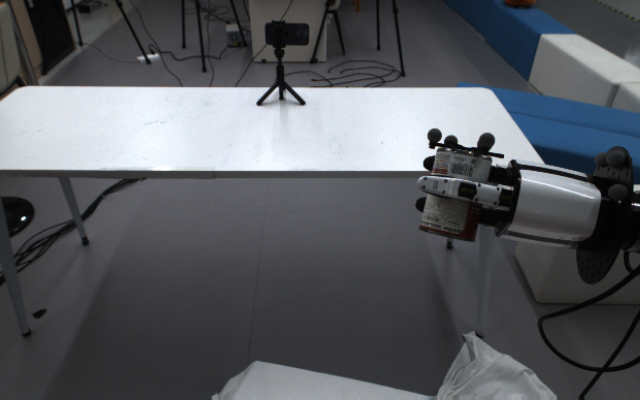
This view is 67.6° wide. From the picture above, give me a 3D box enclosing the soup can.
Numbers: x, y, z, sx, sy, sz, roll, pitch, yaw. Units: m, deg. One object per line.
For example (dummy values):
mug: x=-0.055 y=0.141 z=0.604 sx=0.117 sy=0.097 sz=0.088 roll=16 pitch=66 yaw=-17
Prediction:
soup can: x=0.166 y=-0.007 z=0.587 sx=0.067 sy=0.101 sz=0.067 roll=12 pitch=3 yaw=-1
